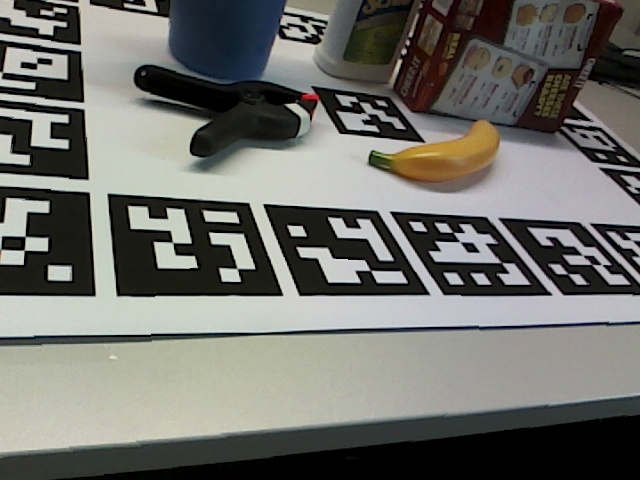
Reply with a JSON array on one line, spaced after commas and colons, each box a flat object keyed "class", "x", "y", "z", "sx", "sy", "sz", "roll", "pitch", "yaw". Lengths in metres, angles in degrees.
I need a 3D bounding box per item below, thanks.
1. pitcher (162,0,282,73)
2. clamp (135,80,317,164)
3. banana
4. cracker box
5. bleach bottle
[{"class": "pitcher", "x": -0.089, "y": -0.292, "z": 0.590, "sx": 0.187, "sy": 0.242, "sz": 0.134, "roll": -12, "pitch": 44, "yaw": -41}, {"class": "clamp", "x": -0.070, "y": -0.112, "z": 0.569, "sx": 0.164, "sy": 0.036, "sz": 0.122, "roll": -10, "pitch": 42, "yaw": -38}, {"class": "banana", "x": 0.135, "y": -0.088, "z": 0.646, "sx": 0.074, "sy": 0.039, "sz": 0.196, "roll": 33, "pitch": 37, "yaw": 21}, {"class": "cracker box", "x": 0.220, "y": -0.229, "z": 0.731, "sx": 0.212, "sy": 0.164, "sz": 0.072, "roll": 1, "pitch": 35, "yaw": -22}, {"class": "bleach bottle", "x": 0.063, "y": -0.299, "z": 0.706, "sx": 0.102, "sy": 0.250, "sz": 0.068, "roll": 1, "pitch": 37, "yaw": -24}]
